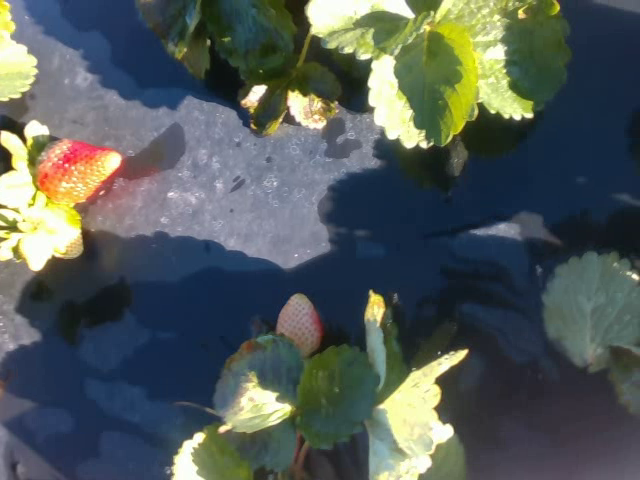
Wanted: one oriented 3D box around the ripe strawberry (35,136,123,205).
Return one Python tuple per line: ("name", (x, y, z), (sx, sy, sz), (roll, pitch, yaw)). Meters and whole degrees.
("ripe strawberry", (-0.149, -0.047, 0.388), (0.064, 0.050, 0.052), (-15, 30, 17))
